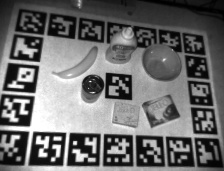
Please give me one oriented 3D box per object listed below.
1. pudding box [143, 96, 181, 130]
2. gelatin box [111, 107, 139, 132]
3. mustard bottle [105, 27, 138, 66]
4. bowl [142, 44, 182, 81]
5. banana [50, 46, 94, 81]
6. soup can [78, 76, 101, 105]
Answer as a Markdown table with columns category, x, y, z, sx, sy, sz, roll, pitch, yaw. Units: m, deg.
| category | x | y | z | sx | sy | sz | roll | pitch | yaw |
| --- | --- | --- | --- | --- | --- | --- | --- | --- | --- |
| pudding box | 0.180 | 0.100 | 0.785 | 0.114 | 0.038 | 0.090 | -20 | 81 | -18 |
| gelatin box | 0.045 | 0.119 | 0.752 | 0.090 | 0.030 | 0.073 | 10 | 72 | -8 |
| mustard bottle | 0.036 | -0.134 | 0.743 | 0.097 | 0.191 | 0.058 | 3 | 67 | -10 |
| bowl | 0.189 | -0.079 | 0.846 | 0.162 | 0.055 | 0.161 | 4 | 69 | -10 |
| banana | -0.125 | -0.075 | 0.780 | 0.074 | 0.039 | 0.198 | 39 | 67 | 15 |
| soup can | -0.077 | 0.019 | 0.713 | 0.068 | 0.102 | 0.067 | 5 | 67 | -12 |
